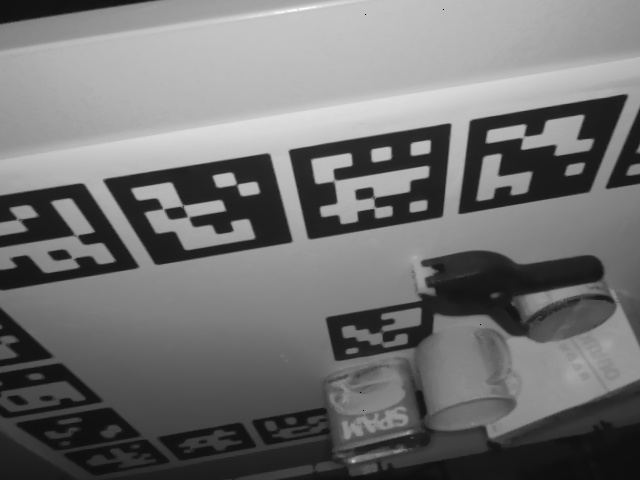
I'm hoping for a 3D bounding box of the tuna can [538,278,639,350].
[{"bbox_3d":[0.243,0.062,0.628,0.086,0.034,0.085,-6,139,-4],"label":"tuna can"}]

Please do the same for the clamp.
[{"bbox_3d":[0.160,0.035,0.588,0.167,0.037,0.120,19,138,-24],"label":"clamp"}]

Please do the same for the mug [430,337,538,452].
[{"bbox_3d":[0.158,0.140,0.666,0.094,0.082,0.115,9,136,-19],"label":"mug"}]

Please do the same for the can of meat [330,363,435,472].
[{"bbox_3d":[0.063,0.180,0.708,0.101,0.084,0.057,-12,142,7],"label":"can of meat"}]

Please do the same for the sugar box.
[{"bbox_3d":[0.251,0.134,0.681,0.174,0.093,0.046,-33,136,29],"label":"sugar box"}]
